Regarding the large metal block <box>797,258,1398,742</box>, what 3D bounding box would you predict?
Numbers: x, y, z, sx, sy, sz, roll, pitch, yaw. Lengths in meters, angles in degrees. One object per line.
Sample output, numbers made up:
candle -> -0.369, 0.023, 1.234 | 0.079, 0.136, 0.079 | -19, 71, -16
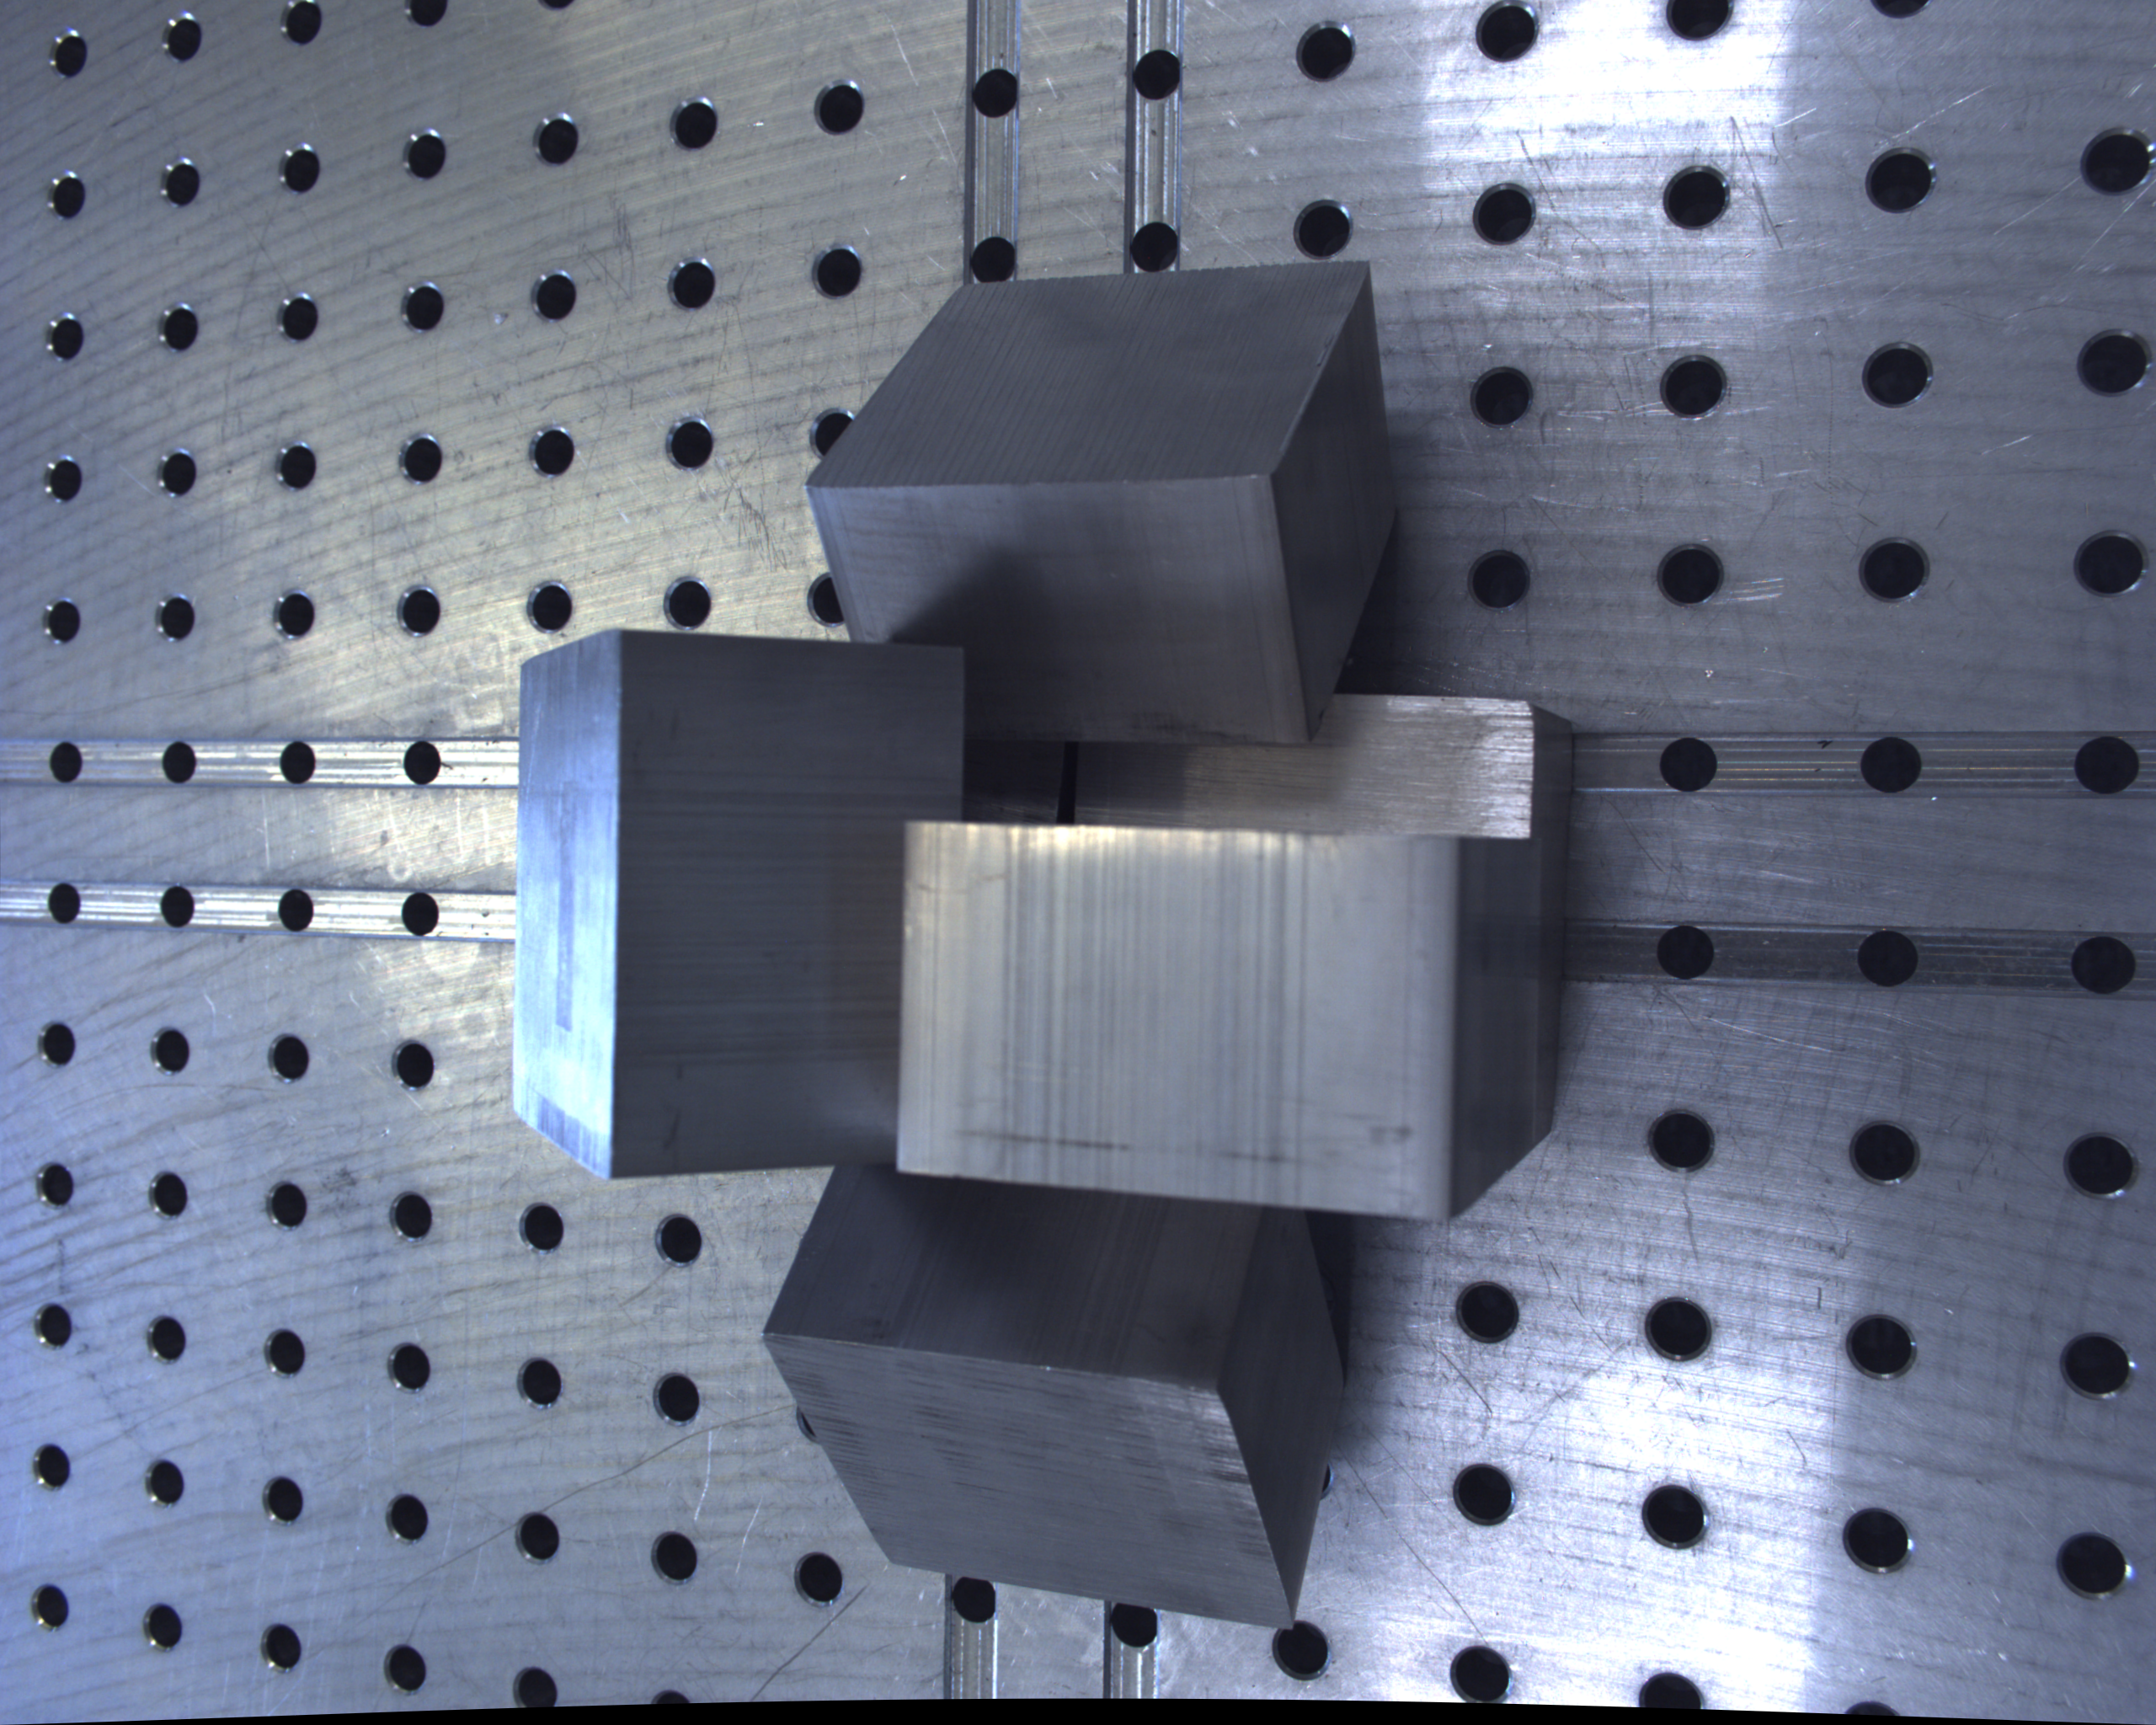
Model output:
large metal block -> 0.008, -0.066, 0.373 | 0.080, 0.080, 0.050 | 2, 129, 20

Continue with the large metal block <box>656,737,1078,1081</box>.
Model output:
large metal block -> -0.035, 0.006, 0.412 | 0.080, 0.050, 0.080 | 7, 93, 20

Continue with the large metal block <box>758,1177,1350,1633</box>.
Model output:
large metal block -> 0.000, 0.091, 0.378 | 0.080, 0.050, 0.080 | 2, 136, 20

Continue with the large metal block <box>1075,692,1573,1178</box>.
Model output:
large metal block -> 0.045, 0.011, 0.383 | 0.080, 0.050, 0.080 | 3, 91, 20

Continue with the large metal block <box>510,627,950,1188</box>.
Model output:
large metal block -> -0.060, 0.006, 0.343 | 0.050, 0.080, 0.080 | 1, 91, -25

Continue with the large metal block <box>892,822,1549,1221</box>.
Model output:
large metal block -> 0.026, 0.020, 0.321 | 0.080, 0.080, 0.050 | 2, 91, 20
